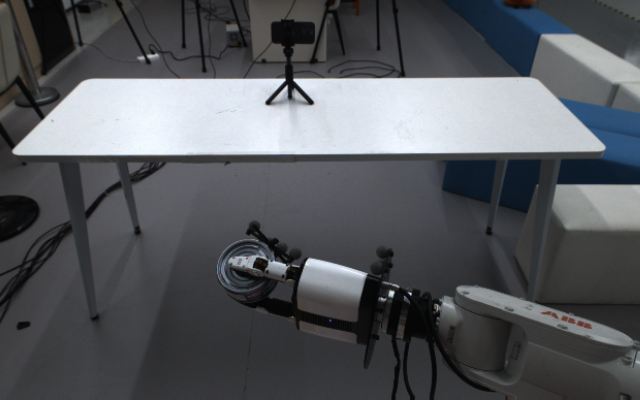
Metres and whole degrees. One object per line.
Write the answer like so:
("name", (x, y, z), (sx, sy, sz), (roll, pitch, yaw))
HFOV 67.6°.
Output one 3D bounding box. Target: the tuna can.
("tuna can", (-0.098, 0.105, 0.678), (0.085, 0.034, 0.085), (-4, 58, 6))
